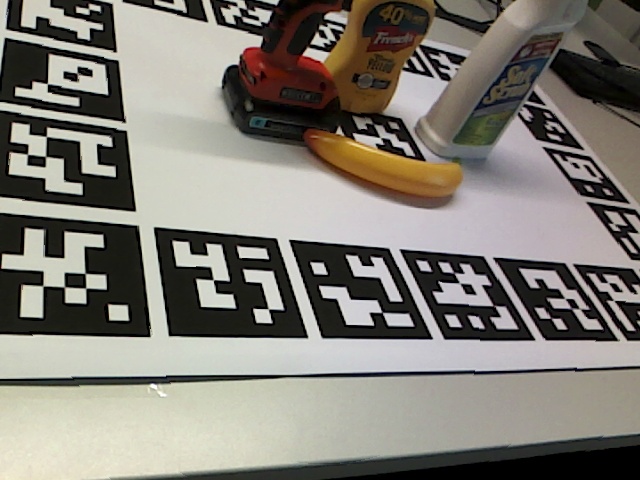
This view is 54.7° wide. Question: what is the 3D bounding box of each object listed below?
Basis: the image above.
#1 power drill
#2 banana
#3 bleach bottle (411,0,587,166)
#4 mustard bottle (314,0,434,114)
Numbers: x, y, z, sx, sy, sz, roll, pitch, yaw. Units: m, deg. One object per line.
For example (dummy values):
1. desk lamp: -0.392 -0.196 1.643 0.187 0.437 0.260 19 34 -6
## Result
1. power drill: 0.005 -0.209 0.594 0.183 0.187 0.058 4 39 -32
2. banana: 0.084 -0.078 0.650 0.196 0.039 0.074 6 49 -24
3. bleach bottle: 0.209 -0.196 0.700 0.102 0.251 0.068 -2 50 -33
4. mustard bottle: 0.071 -0.234 0.690 0.095 0.191 0.059 6 45 -28
